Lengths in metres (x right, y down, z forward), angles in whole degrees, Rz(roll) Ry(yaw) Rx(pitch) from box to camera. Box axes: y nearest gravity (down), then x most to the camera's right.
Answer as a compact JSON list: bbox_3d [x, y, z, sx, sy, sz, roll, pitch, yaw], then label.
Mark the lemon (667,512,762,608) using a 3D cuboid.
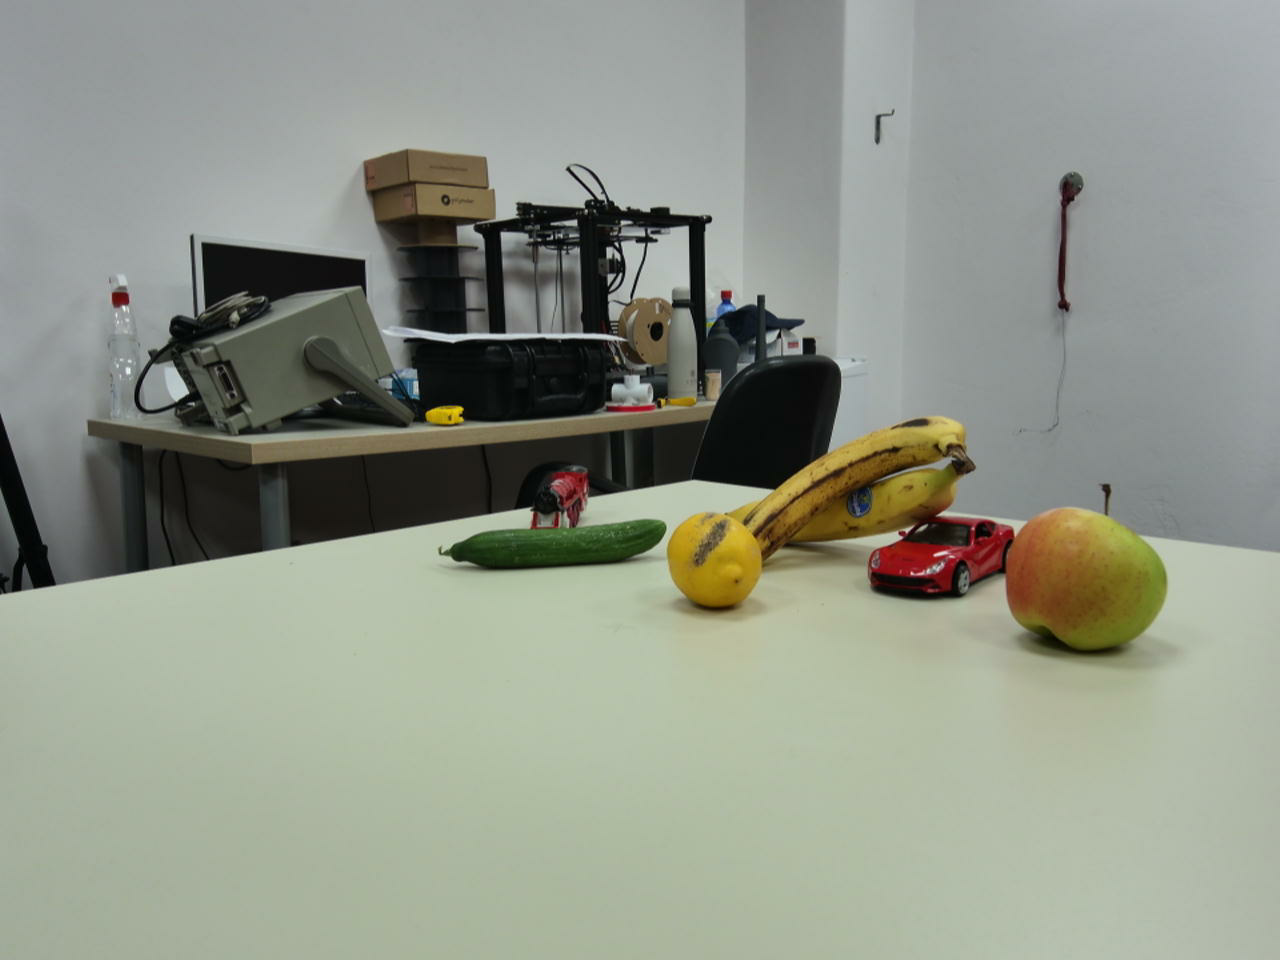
[{"bbox_3d":[0.046,0.049,0.614,0.061,0.056,0.058,6,8,38],"label":"lemon"}]
